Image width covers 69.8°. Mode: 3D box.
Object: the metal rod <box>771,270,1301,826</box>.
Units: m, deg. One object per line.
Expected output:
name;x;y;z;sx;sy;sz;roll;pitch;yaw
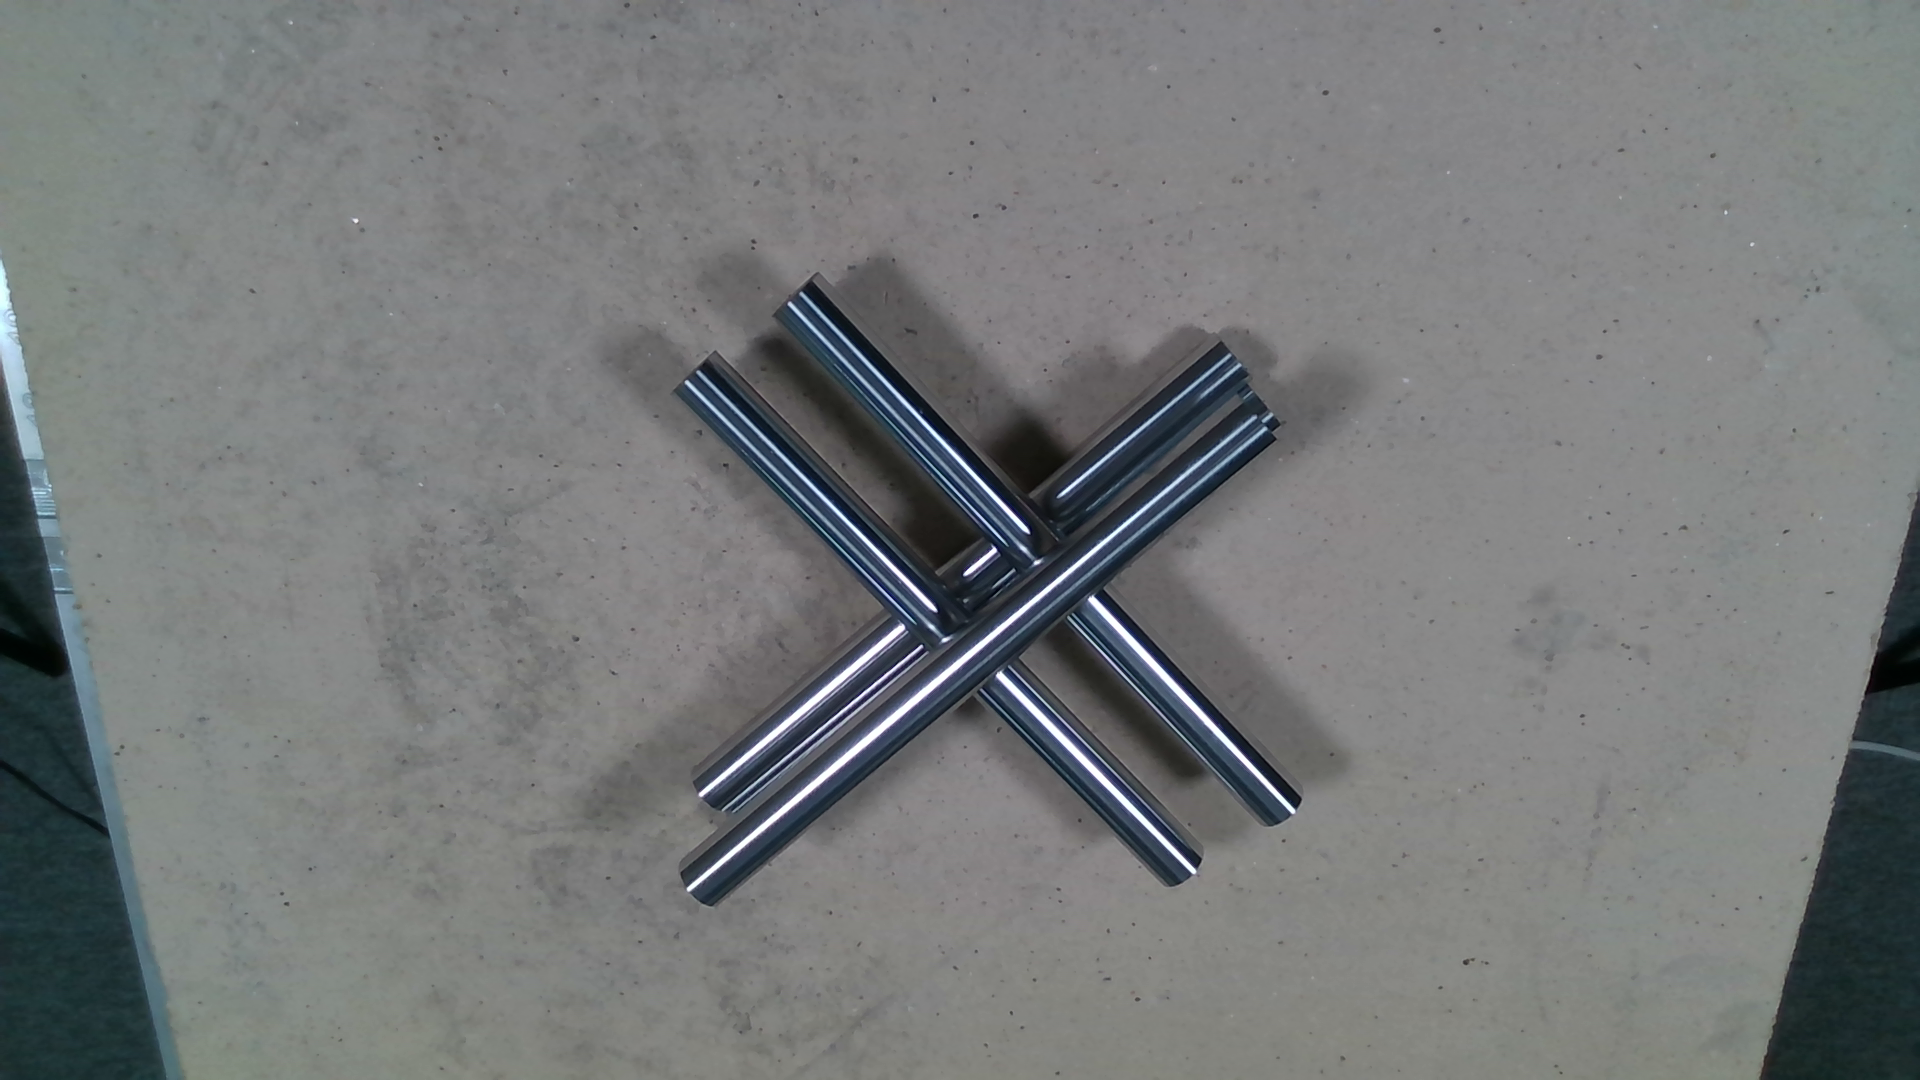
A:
metal rod;0.038;0.010;0.562;0.025;0.025;0.300;-40;105;13

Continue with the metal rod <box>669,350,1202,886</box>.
metal rod;-0.003;0.039;0.573;0.025;0.025;0.300;-40;105;13

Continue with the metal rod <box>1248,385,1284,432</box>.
metal rod;0.013;0.039;0.599;0.300;0.025;0.025;-40;105;13

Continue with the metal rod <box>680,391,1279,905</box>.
metal rod;0.001;0.049;0.549;0.300;0.025;0.025;-41;105;14

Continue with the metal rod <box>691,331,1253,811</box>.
metal rod;-0.001;0.019;0.592;0.300;0.025;0.025;-40;105;13
